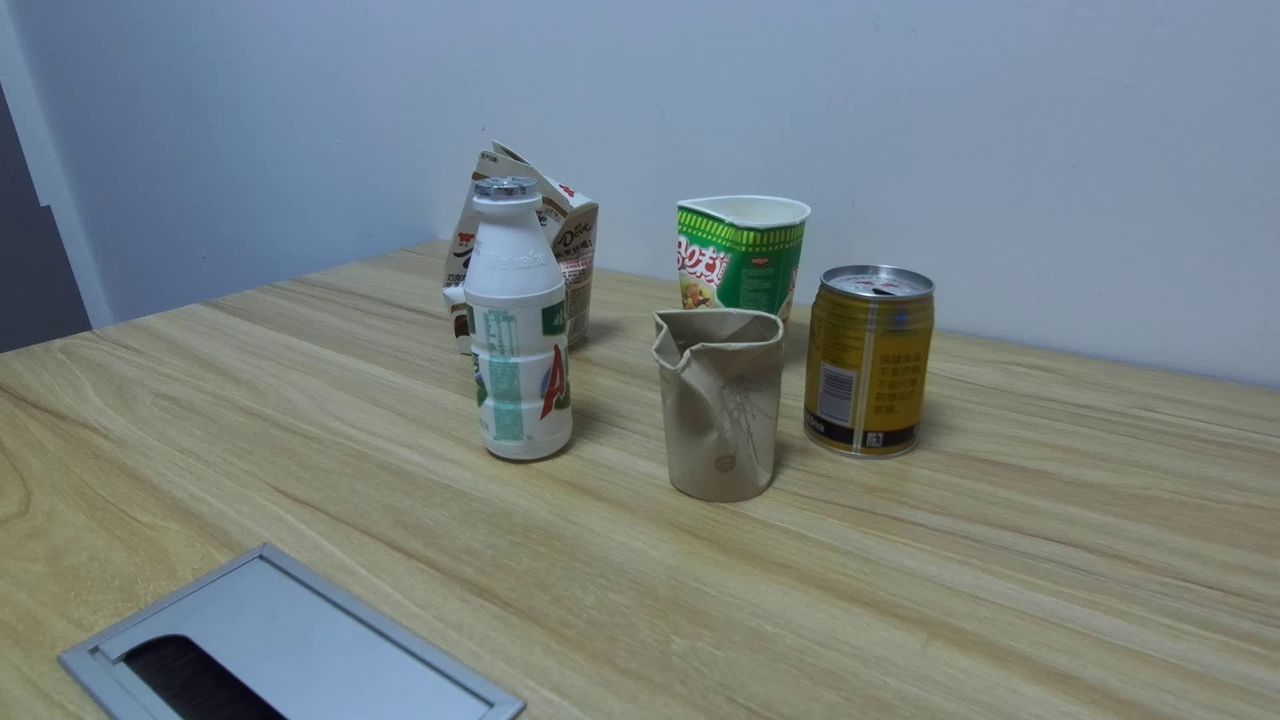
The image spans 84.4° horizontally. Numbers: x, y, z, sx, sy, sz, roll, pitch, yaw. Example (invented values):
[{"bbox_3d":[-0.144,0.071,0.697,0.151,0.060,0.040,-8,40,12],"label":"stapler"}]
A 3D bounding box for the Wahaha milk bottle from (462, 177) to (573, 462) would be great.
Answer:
[{"bbox_3d":[-0.066,-0.020,0.380,0.053,0.147,0.053,-2,22,1],"label":"Wahaha milk bottle"}]

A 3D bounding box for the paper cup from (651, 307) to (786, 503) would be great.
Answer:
[{"bbox_3d":[0.039,0.024,0.352,0.066,0.083,0.058,0,27,6],"label":"paper cup"}]

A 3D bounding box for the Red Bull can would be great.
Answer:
[{"bbox_3d":[0.127,-0.001,0.395,0.068,0.093,0.068,-1,24,1],"label":"Red Bull can"}]

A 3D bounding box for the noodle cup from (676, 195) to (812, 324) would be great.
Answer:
[{"bbox_3d":[0.072,-0.051,0.489,0.087,0.109,0.093,-4,25,-6],"label":"noodle cup"}]

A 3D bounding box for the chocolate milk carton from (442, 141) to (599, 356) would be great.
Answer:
[{"bbox_3d":[-0.082,-0.074,0.510,0.089,0.155,0.077,20,31,14],"label":"chocolate milk carton"}]
